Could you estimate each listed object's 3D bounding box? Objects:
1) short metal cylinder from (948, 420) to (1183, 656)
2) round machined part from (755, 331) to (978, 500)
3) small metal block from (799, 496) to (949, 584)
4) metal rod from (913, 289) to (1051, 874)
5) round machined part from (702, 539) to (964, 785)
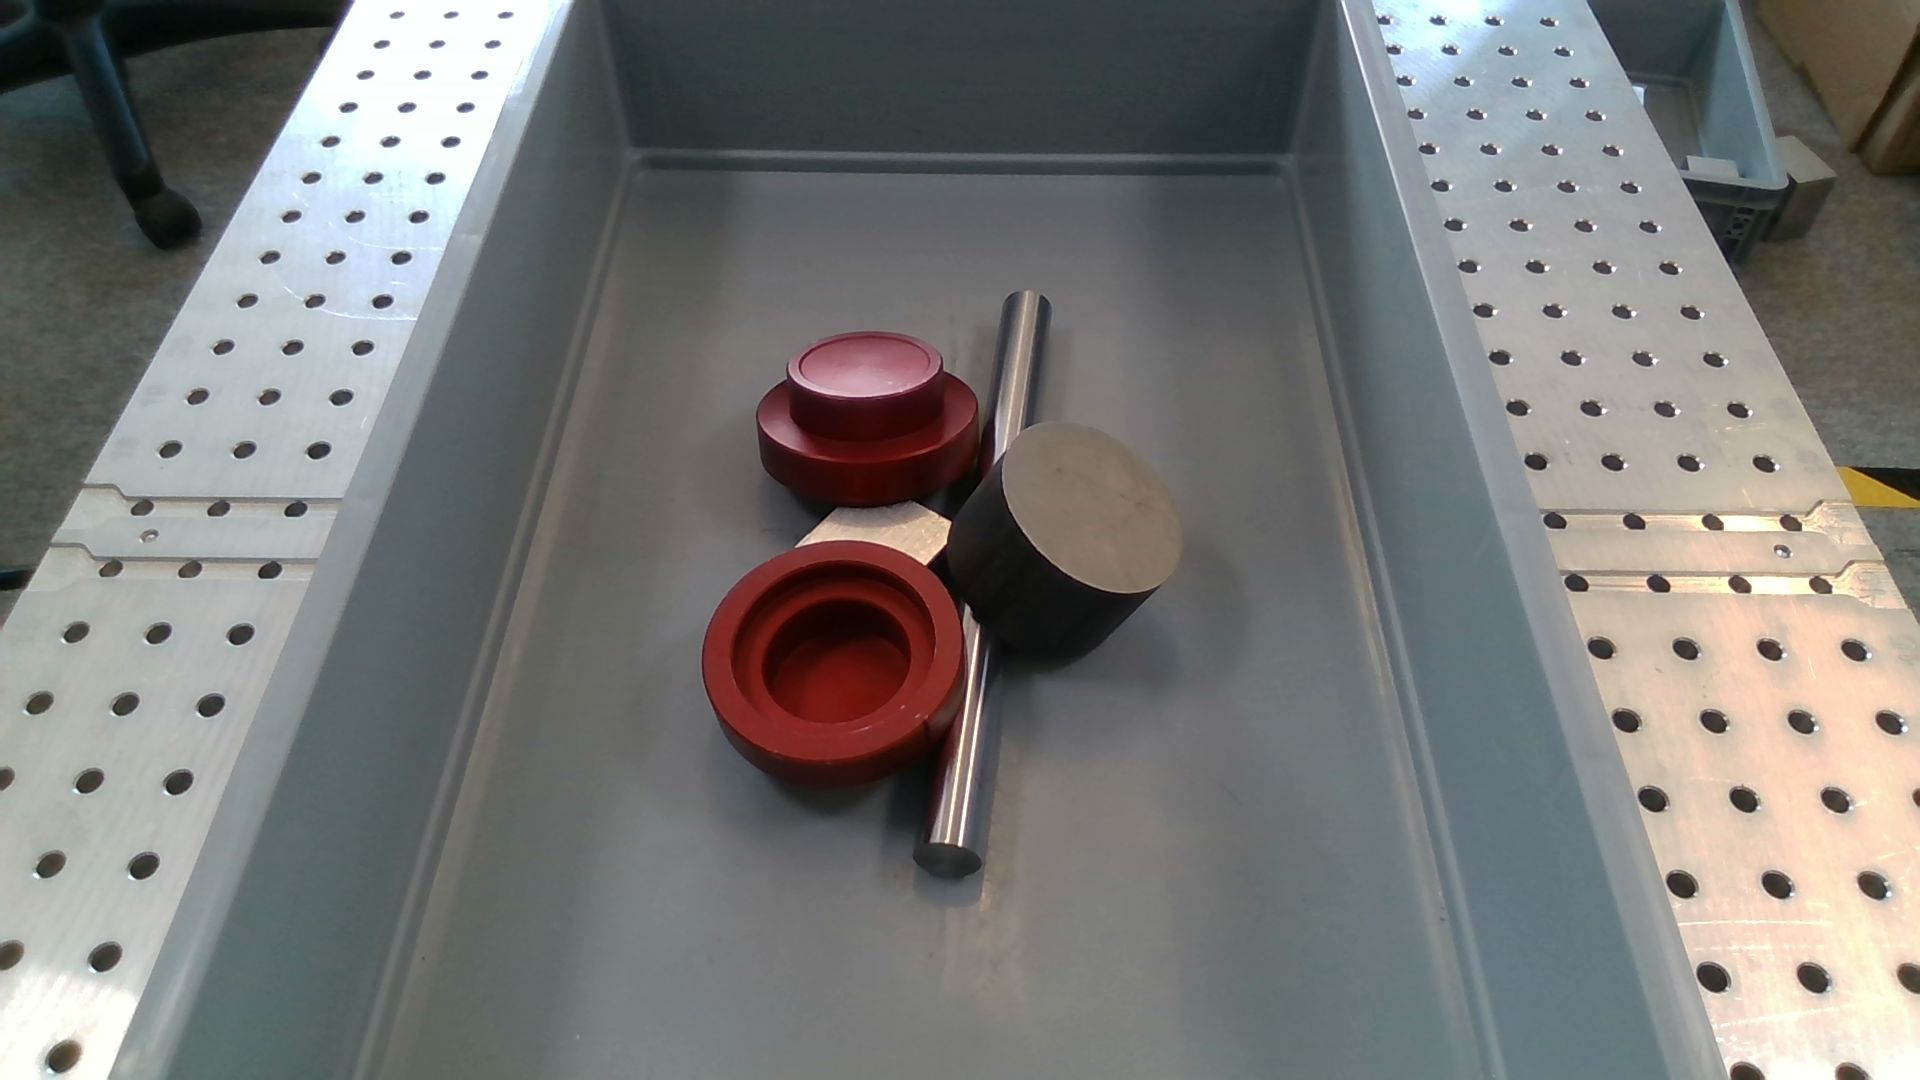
[{"bbox_3d":[0.041,-0.001,0.551,0.080,0.050,0.080,16,51,-20],"label":"short metal cylinder"},{"bbox_3d":[-0.041,-0.060,0.607,0.098,0.042,0.098,-1,32,0],"label":"round machined part"},{"bbox_3d":[-0.034,0.007,0.580,0.050,0.025,0.050,29,56,22],"label":"small metal block"},{"bbox_3d":[0.014,-0.001,0.586,0.025,0.025,0.299,6,50,5],"label":"metal rod"},{"bbox_3d":[-0.046,0.051,0.529,0.098,0.042,0.098,-1,53,2],"label":"round machined part"}]
